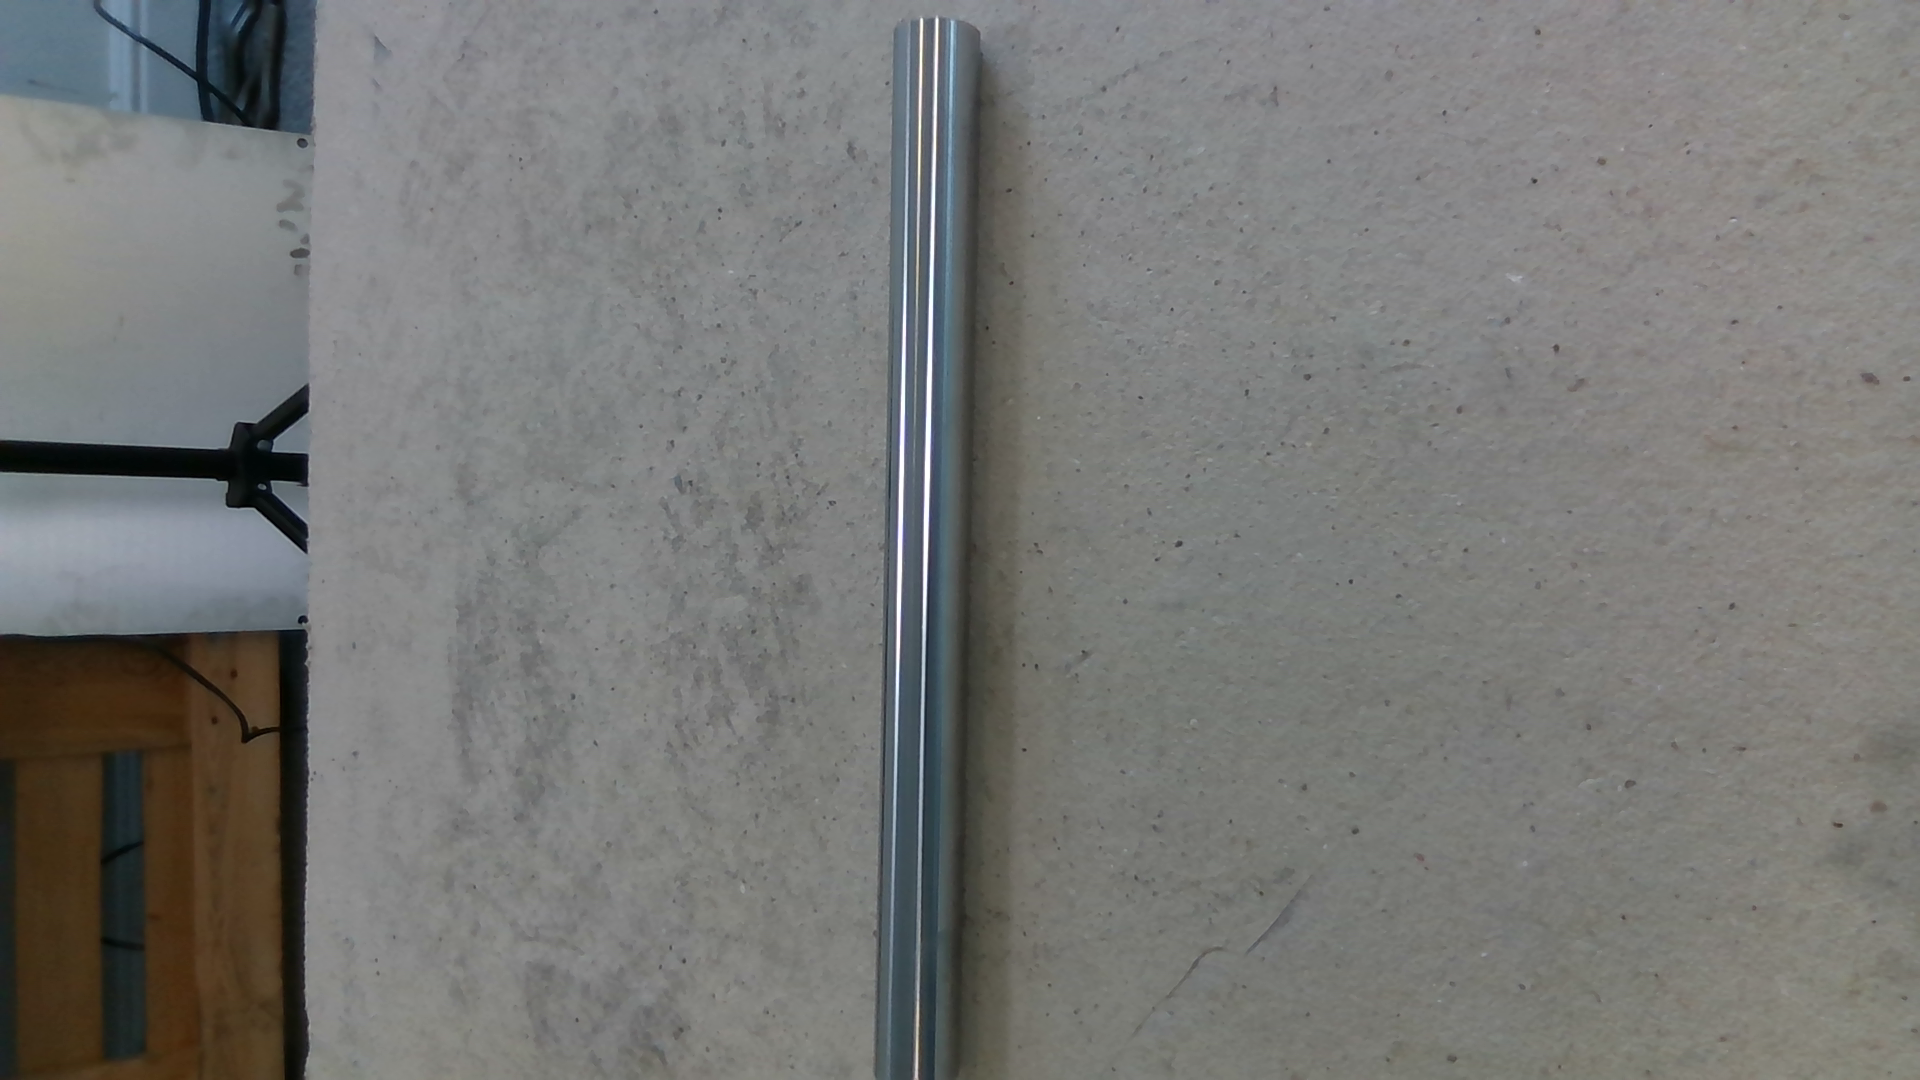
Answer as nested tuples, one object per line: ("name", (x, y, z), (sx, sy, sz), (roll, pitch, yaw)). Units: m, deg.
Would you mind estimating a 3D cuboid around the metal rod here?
("metal rod", (-0.010, 0.004, 0.399), (0.025, 0.025, 0.300), (3, 92, 40))
